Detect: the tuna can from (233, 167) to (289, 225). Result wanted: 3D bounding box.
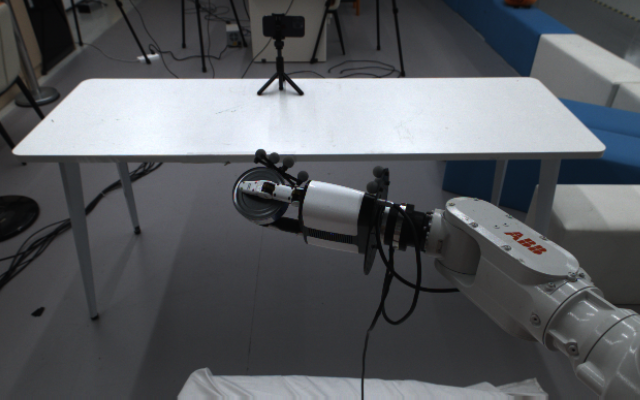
[{"bbox_3d":[-0.090,-0.005,0.749,0.085,0.034,0.085,-2,71,6],"label":"tuna can"}]
